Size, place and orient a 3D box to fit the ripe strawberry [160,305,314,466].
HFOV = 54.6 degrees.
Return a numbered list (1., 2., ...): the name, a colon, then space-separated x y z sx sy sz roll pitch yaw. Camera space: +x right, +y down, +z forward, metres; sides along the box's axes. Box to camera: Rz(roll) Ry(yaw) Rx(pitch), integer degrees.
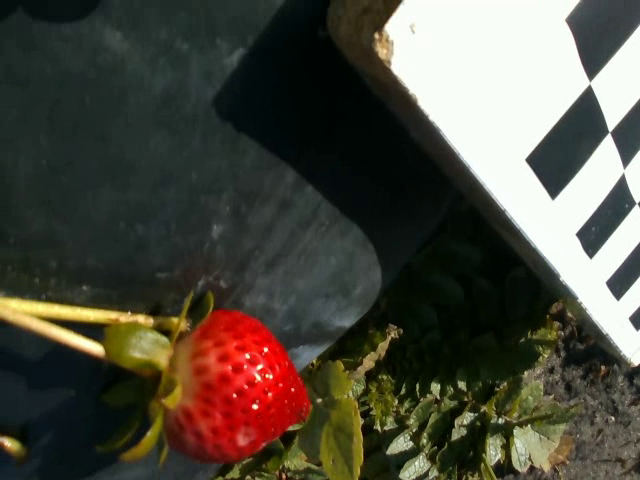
1. ripe strawberry: -0.017 0.035 0.140 0.044 0.040 0.037 13 22 -32
